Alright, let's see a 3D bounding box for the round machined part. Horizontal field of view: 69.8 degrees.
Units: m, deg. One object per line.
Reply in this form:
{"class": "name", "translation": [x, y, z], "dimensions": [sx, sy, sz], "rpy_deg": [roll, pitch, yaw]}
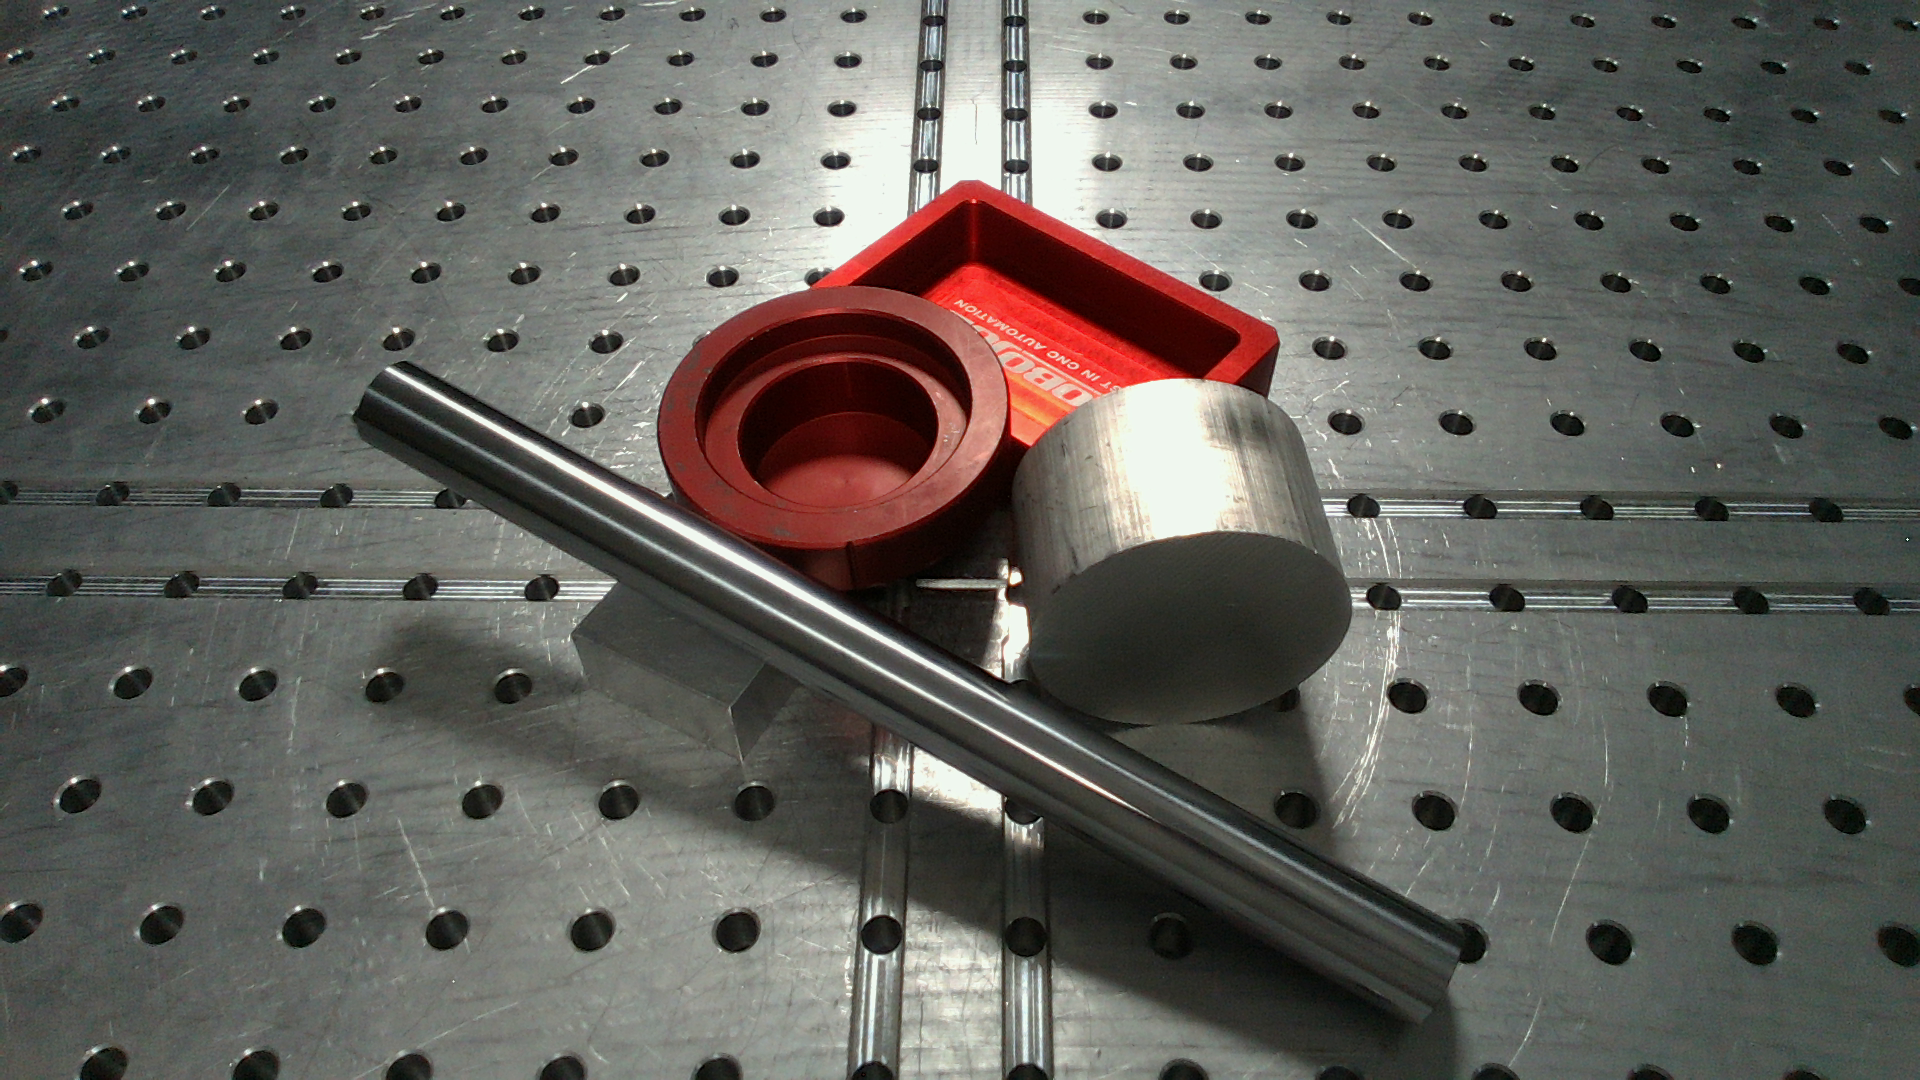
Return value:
{"class": "round machined part", "translation": [-0.034, -0.025, 0.395], "dimensions": [0.098, 0.042, 0.098], "rpy_deg": [-1, 50, 2]}

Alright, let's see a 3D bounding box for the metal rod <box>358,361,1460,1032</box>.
{"class": "metal rod", "translation": [-0.022, 0.032, 0.341], "dimensions": [0.300, 0.025, 0.025], "rpy_deg": [28, 55, 11]}

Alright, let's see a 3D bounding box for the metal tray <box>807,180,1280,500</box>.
{"class": "metal tray", "translation": [0.023, -0.060, 0.441], "dimensions": [0.130, 0.030, 0.090], "rpy_deg": [33, 57, 25]}

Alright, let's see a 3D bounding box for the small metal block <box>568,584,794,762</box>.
{"class": "small metal block", "translation": [-0.068, 0.025, 0.374], "dimensions": [0.050, 0.025, 0.050], "rpy_deg": [22, 53, 18]}

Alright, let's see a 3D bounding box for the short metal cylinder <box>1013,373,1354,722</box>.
{"class": "short metal cylinder", "translation": [0.055, 0.004, 0.354], "dimensions": [0.080, 0.080, 0.050], "rpy_deg": [-3, 50, -2]}
